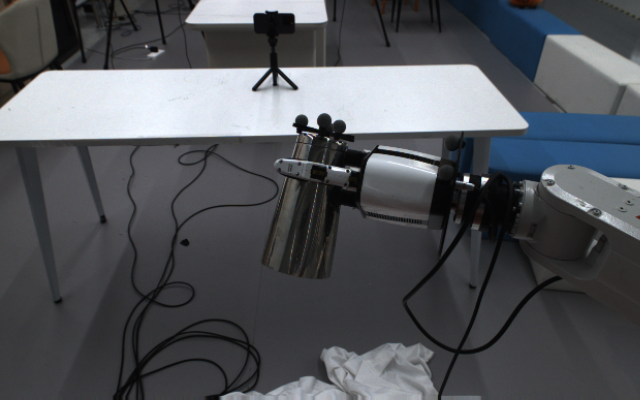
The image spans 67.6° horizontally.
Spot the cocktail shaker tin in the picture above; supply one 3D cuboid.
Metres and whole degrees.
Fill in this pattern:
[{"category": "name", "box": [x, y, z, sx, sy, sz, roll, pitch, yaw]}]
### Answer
[{"category": "cocktail shaker tin", "box": [-0.012, 0.003, 0.623, 0.093, 0.170, 0.093, 12, 3, -1]}]
